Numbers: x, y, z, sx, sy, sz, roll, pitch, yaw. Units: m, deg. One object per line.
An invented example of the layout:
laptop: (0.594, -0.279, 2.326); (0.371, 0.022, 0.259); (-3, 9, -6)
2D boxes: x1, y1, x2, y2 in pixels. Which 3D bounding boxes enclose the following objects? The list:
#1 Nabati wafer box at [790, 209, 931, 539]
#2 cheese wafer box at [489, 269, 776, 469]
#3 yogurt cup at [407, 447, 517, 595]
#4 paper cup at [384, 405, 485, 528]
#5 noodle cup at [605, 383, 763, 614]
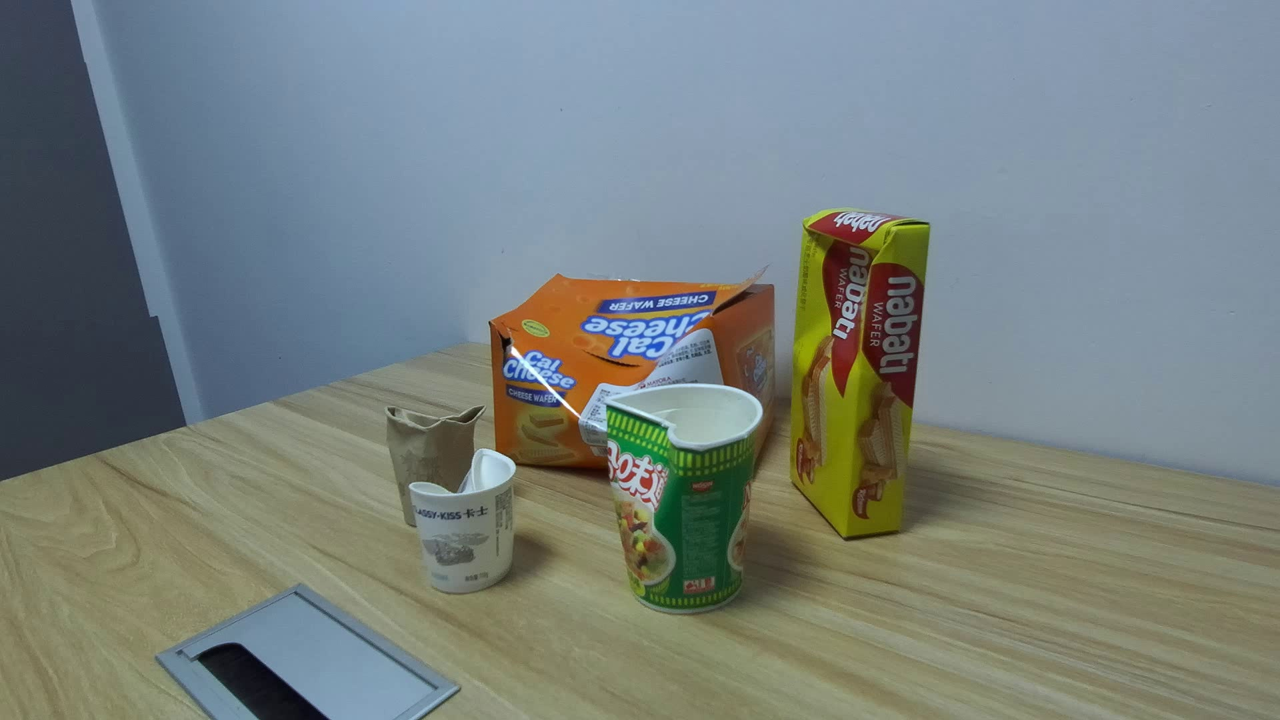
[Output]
Nabati wafer box: (0.137, 0.008, 0.465); (0.042, 0.203, 0.096); (-4, 18, -10)
cheese wafer box: (-0.004, 0.005, 0.603); (0.218, 0.145, 0.191); (2, 17, 18)
yogurt cup: (-0.106, 0.101, 0.437); (0.067, 0.070, 0.067); (-2, 15, 1)
paper cup: (-0.147, 0.074, 0.518); (0.066, 0.083, 0.058); (11, 21, 37)
noodle cup: (0.029, 0.080, 0.404); (0.087, 0.109, 0.093); (-5, 17, -7)
